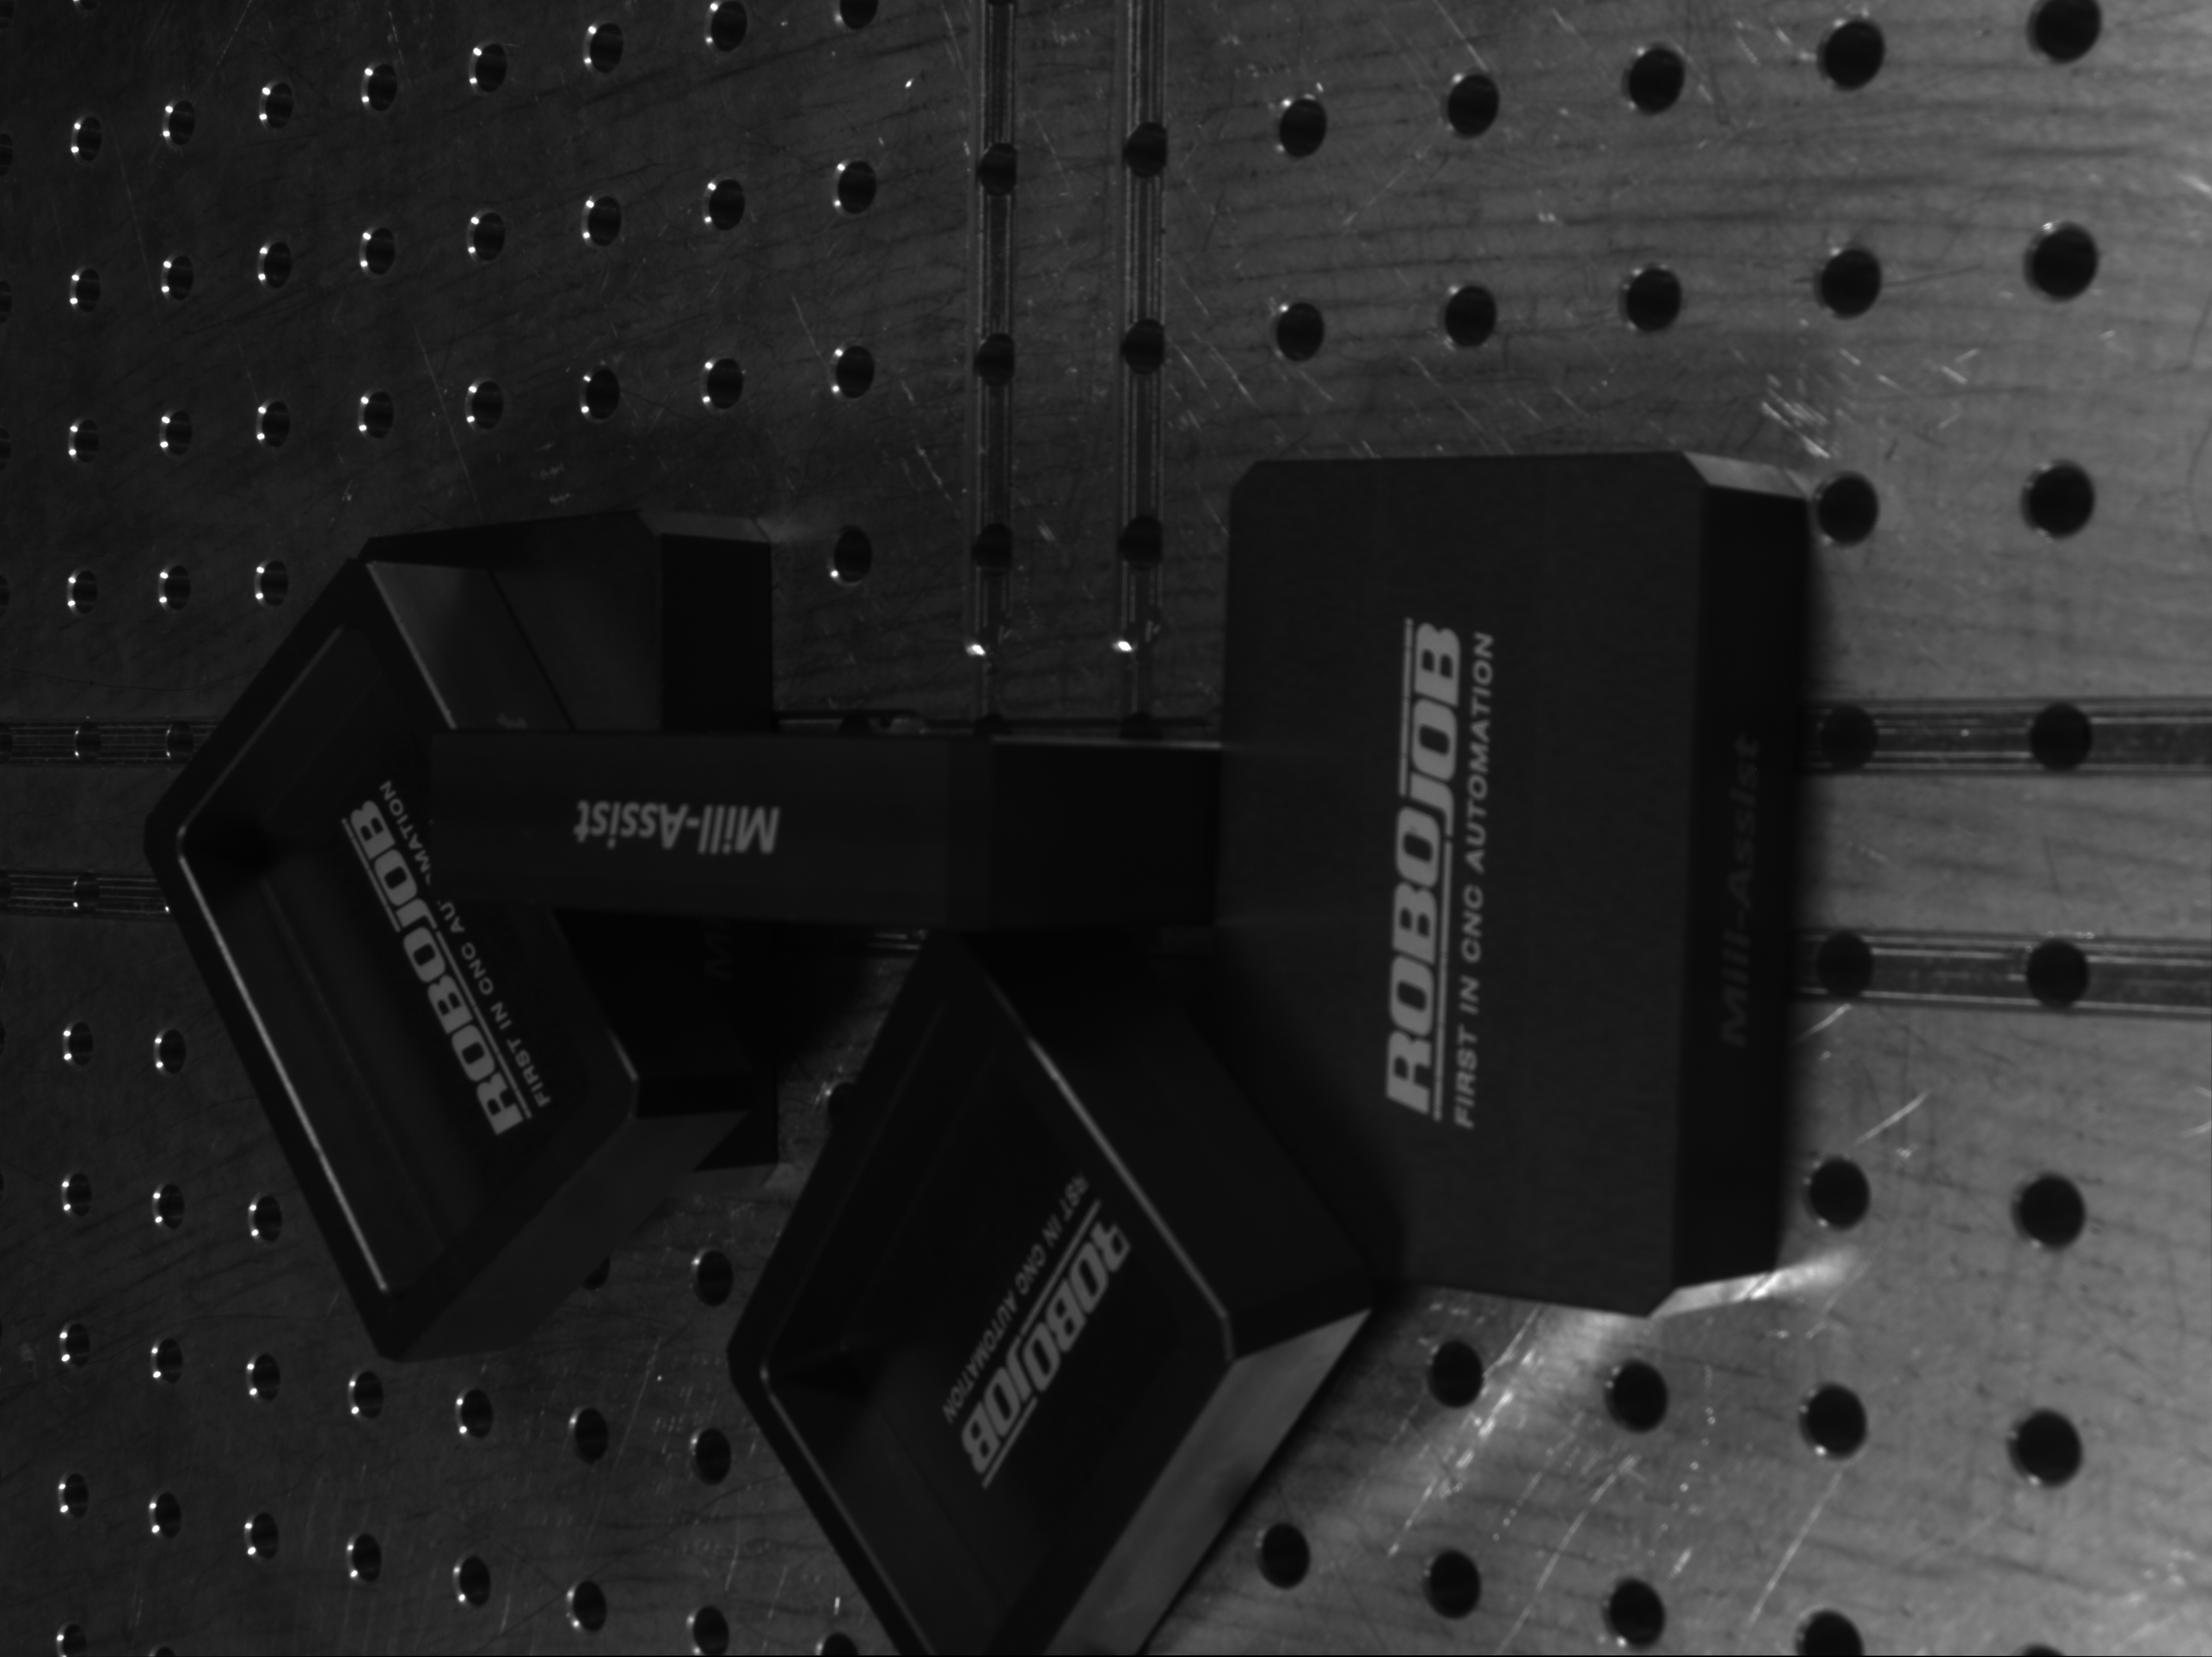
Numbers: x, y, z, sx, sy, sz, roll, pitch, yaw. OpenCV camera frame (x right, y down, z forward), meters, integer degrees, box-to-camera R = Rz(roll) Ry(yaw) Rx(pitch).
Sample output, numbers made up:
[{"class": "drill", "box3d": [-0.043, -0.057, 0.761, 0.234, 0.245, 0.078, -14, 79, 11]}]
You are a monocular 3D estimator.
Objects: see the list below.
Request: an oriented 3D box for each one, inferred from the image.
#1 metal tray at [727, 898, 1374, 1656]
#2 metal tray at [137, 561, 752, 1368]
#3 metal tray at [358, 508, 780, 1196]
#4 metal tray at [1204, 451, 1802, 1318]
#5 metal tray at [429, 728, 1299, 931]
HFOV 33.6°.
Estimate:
[{"class": "metal tray", "box3d": [-0.014, 0.086, 0.623, 0.090, 0.030, 0.130, 53, 138, 26]}, {"class": "metal tray", "box3d": [-0.130, 0.025, 0.701, 0.090, 0.030, 0.130, -45, 64, 30]}, {"class": "metal tray", "box3d": [-0.108, 0.005, 0.725, 0.090, 0.030, 0.130, -2, 89, 40]}, {"class": "metal tray", "box3d": [0.062, 0.007, 0.584, 0.090, 0.030, 0.130, 3, 92, 39]}, {"class": "metal tray", "box3d": [-0.042, -0.001, 0.631, 0.130, 0.090, 0.030, 2, 91, 39]}]
